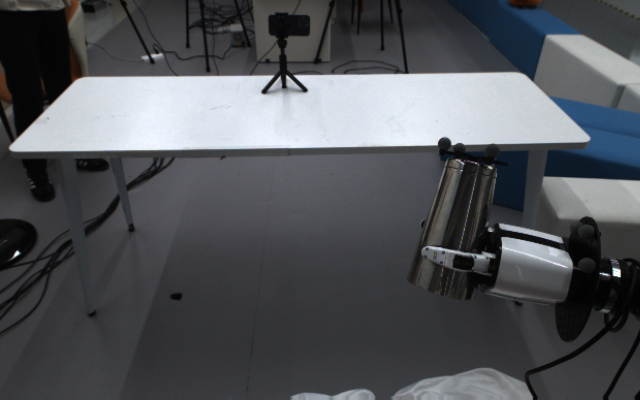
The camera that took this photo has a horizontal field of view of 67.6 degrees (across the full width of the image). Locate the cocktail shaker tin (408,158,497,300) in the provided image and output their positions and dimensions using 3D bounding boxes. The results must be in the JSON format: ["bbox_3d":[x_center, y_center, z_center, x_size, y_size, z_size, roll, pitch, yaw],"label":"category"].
[{"bbox_3d":[0.182,0.036,0.642,0.093,0.170,0.093,13,4,-1],"label":"cocktail shaker tin"}]
